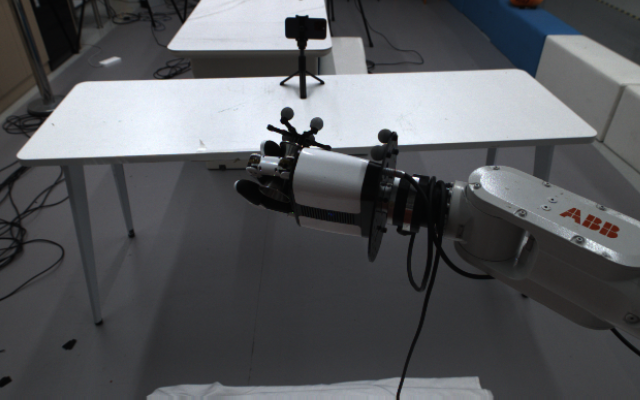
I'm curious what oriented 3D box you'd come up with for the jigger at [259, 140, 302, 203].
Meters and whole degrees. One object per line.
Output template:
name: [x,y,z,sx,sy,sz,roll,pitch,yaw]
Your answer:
jigger: [-0.047,-0.039,0.618,0.043,0.043,0.071,15,71,18]
